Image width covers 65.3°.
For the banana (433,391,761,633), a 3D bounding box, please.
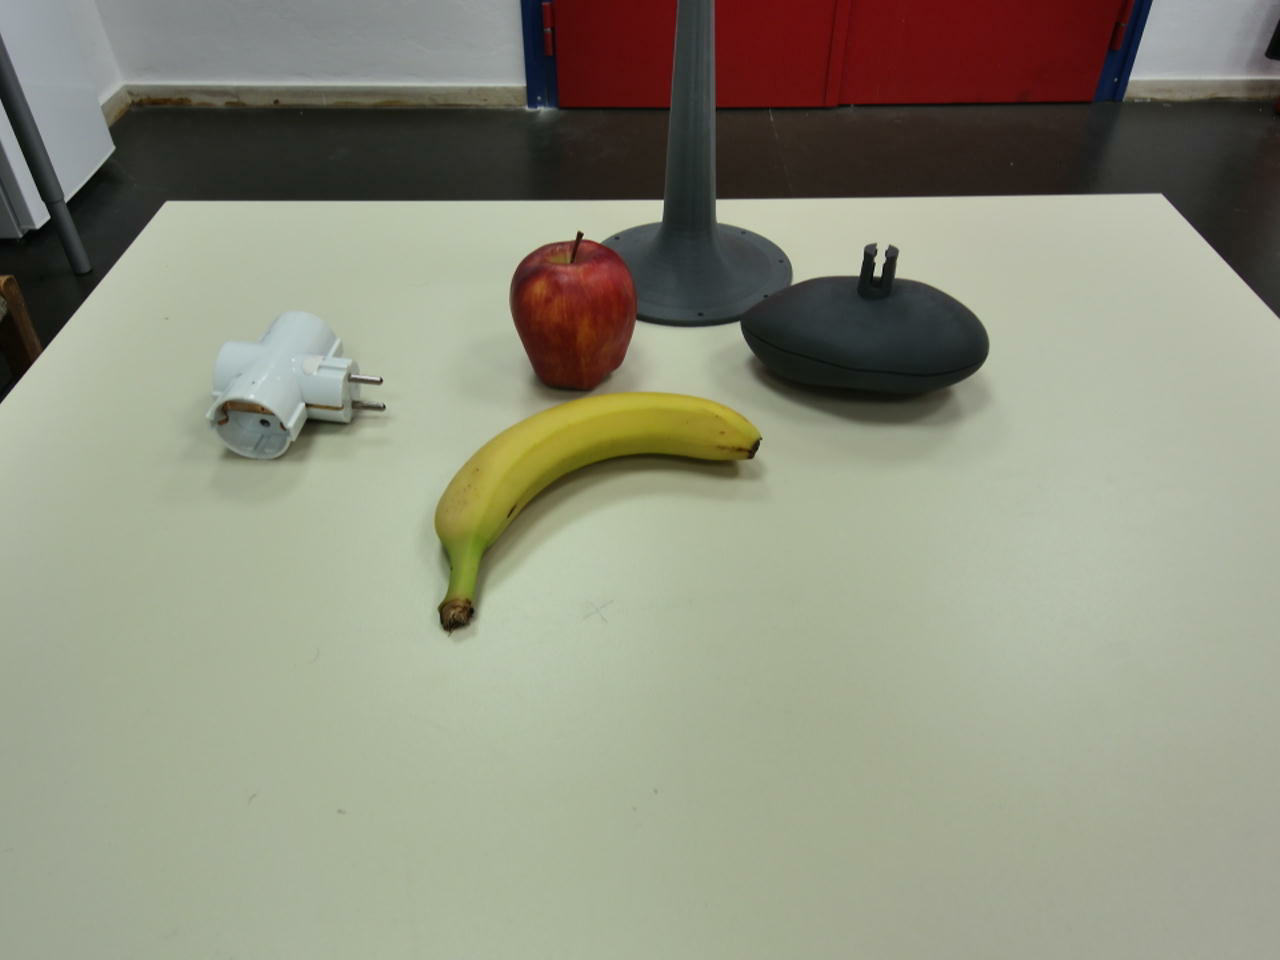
[{"bbox_3d":[-0.036,-0.003,0.522,0.196,0.041,0.094,-25,45,-27],"label":"banana"}]
